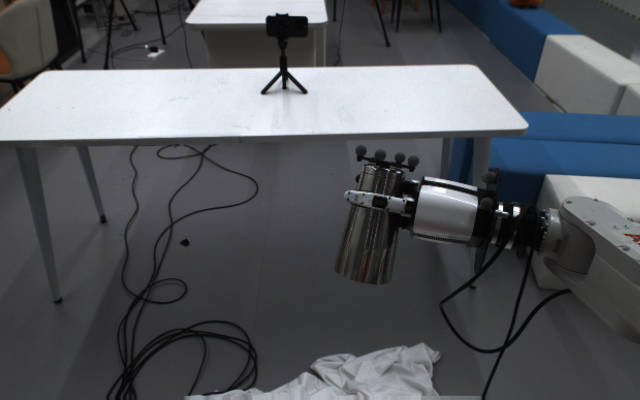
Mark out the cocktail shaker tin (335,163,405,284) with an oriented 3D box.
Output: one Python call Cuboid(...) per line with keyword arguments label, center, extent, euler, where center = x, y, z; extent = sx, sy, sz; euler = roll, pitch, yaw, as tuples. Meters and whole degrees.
Cuboid(label="cocktail shaker tin", center=(0.085, 0.030, 0.749), extent=(0.093, 0.170, 0.093), euler=(10, 9, -2))
